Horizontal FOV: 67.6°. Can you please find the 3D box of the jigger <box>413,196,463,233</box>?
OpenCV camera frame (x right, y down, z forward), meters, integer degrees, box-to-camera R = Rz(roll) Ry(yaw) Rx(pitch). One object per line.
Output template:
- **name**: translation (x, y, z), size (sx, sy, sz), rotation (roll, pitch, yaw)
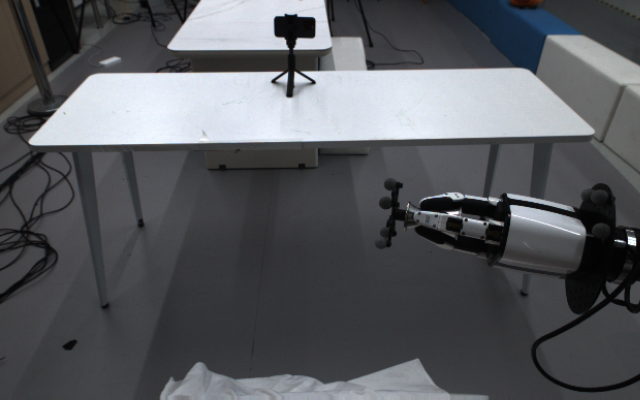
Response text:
- **jigger**: translation (0.153, 0.023, 0.630), size (0.071, 0.043, 0.043), rotation (8, 35, 15)
